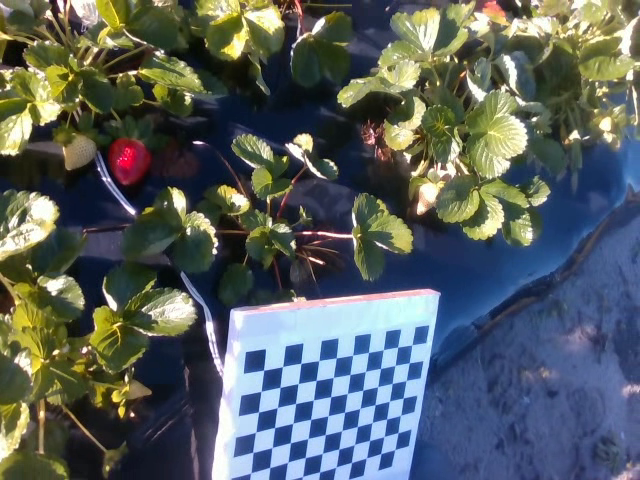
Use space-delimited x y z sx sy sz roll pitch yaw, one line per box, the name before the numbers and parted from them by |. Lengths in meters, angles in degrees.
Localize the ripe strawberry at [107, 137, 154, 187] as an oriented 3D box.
ripe strawberry | -0.227 -0.098 0.750 0.040 0.080 0.062 -28 -44 31
